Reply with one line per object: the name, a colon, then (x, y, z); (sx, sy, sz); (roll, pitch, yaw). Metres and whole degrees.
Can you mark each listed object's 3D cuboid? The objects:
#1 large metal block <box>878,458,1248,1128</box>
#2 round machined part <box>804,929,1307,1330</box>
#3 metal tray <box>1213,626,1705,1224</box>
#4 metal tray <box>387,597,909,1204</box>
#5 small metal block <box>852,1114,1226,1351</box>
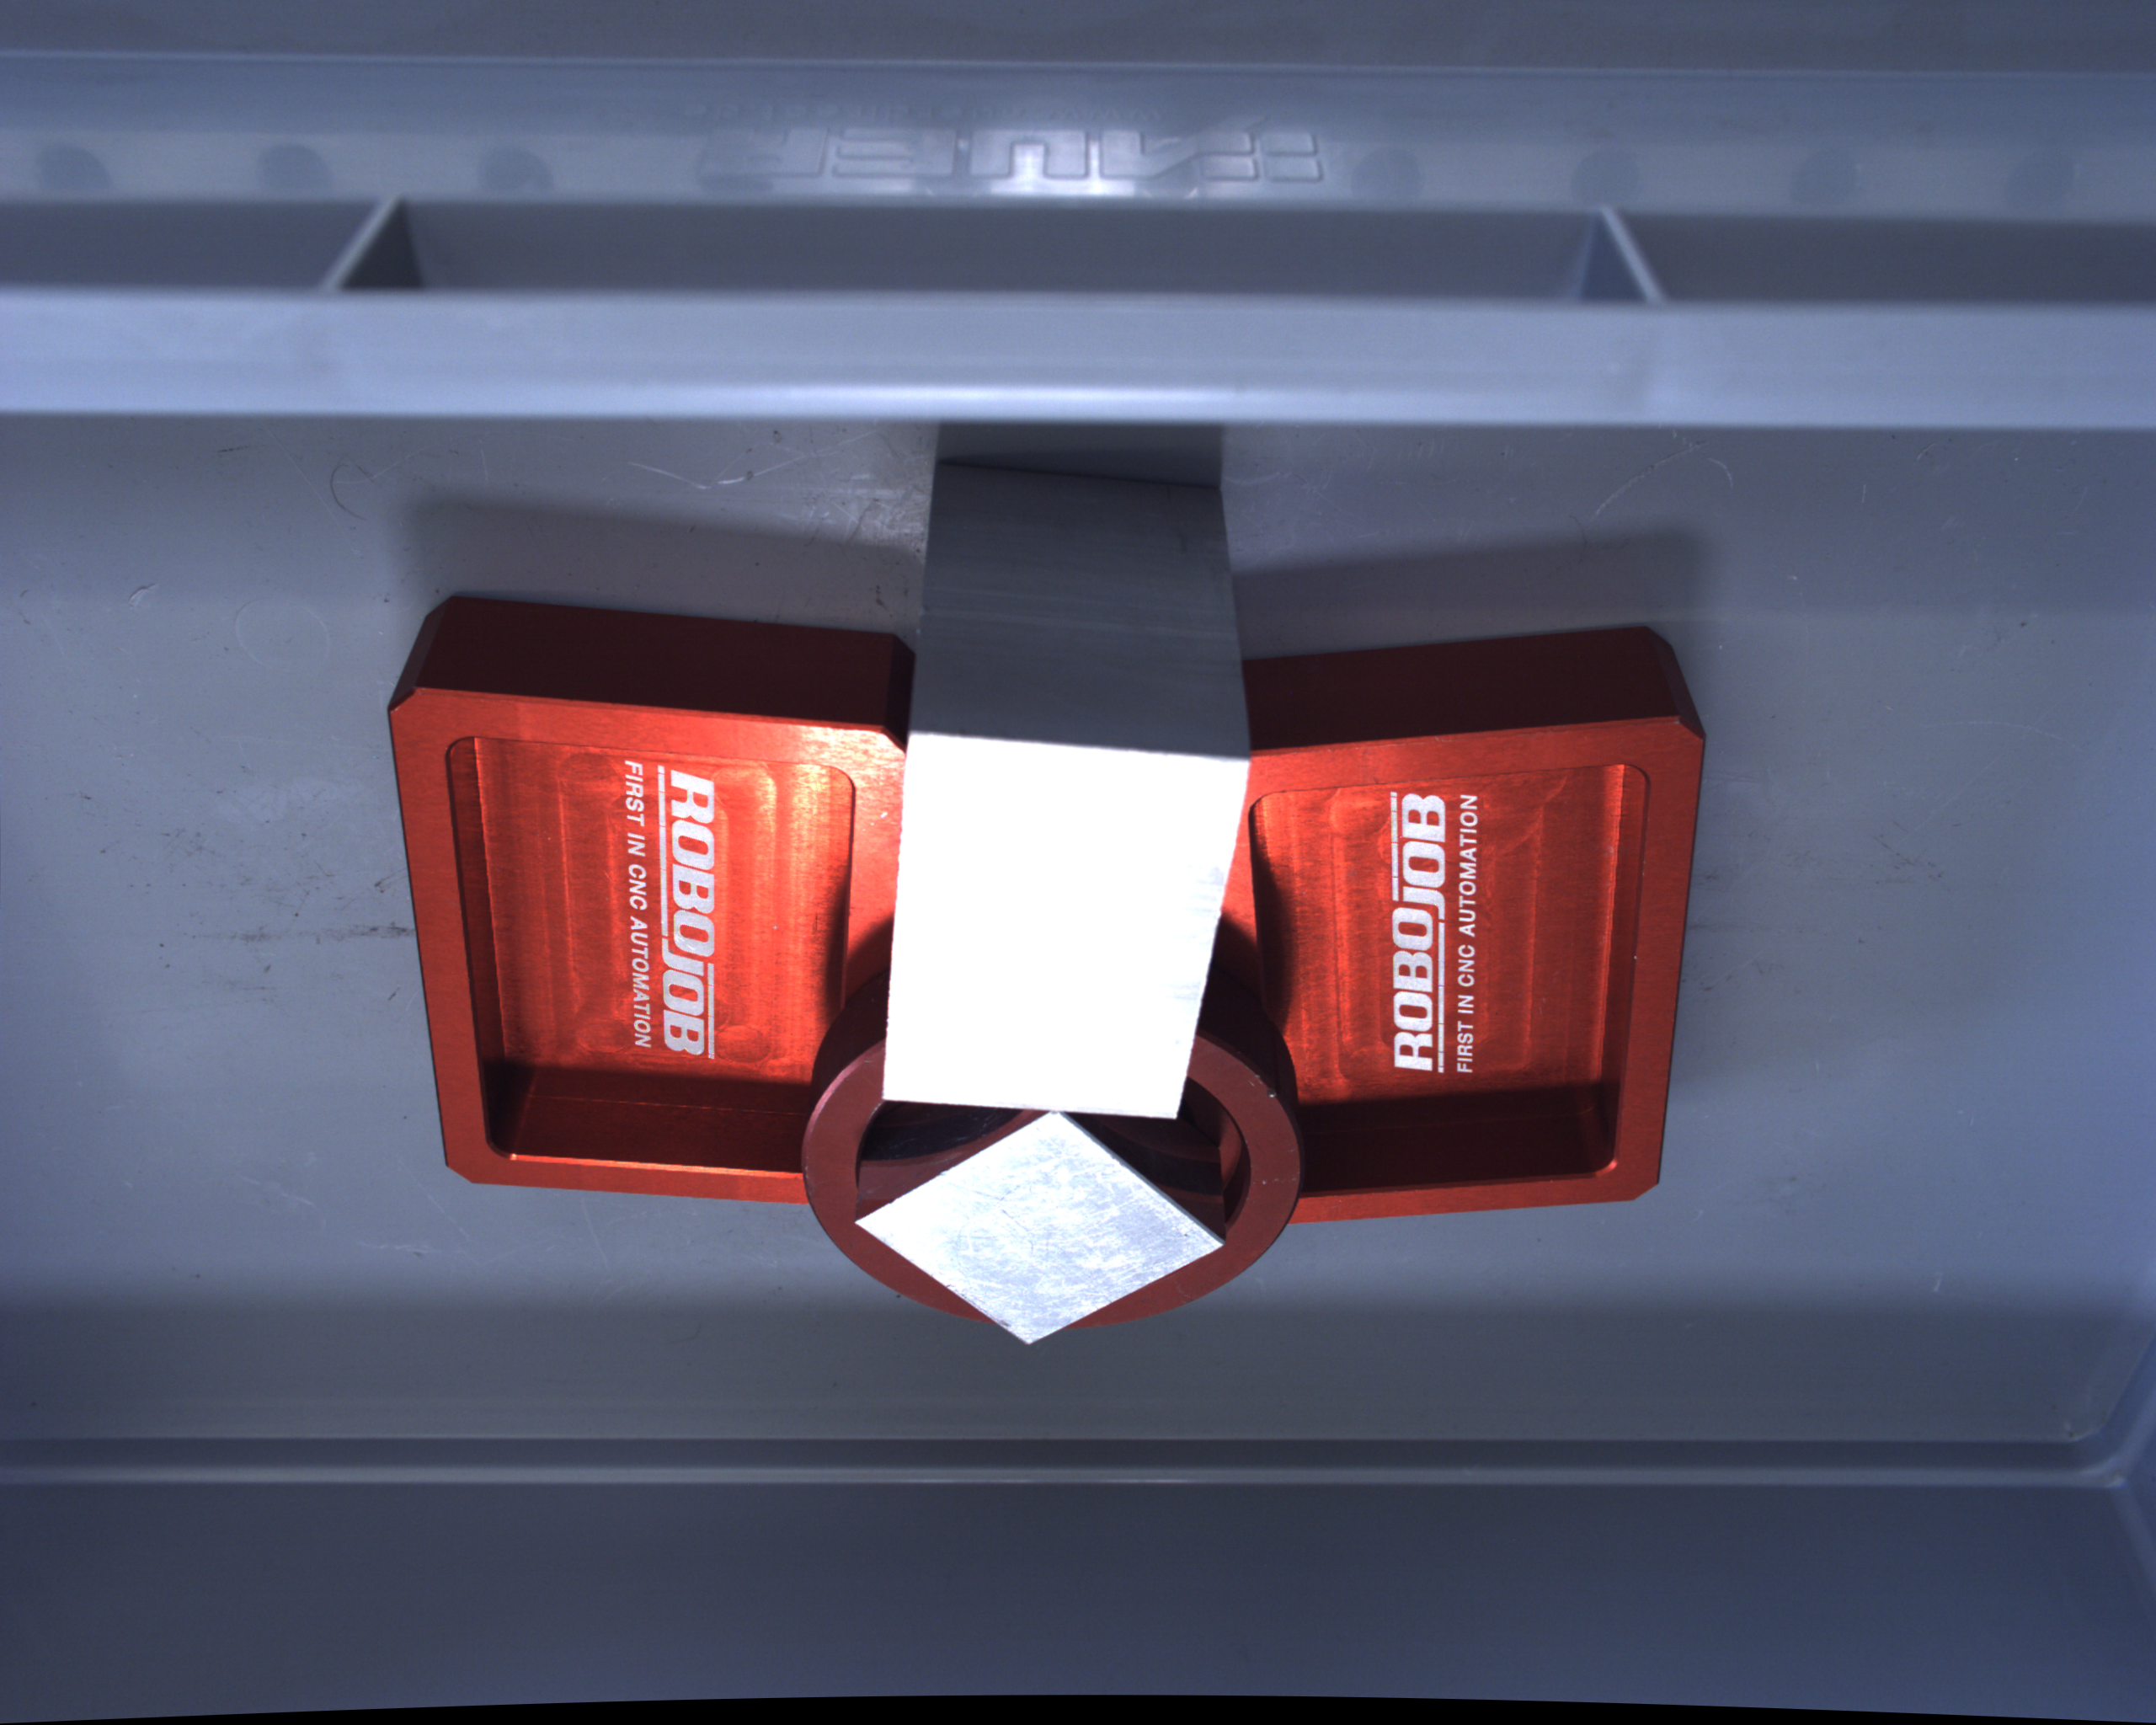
large metal block: (-0.005, -0.012, 0.360); (0.050, 0.080, 0.079); (5, 130, -4)
round machined part: (-0.004, 0.049, 0.425); (0.099, 0.042, 0.097); (0, 130, 0)
metal tray: (0.072, 0.018, 0.419); (0.091, 0.030, 0.129); (-5, 130, 4)
metal tray: (-0.081, 0.013, 0.413); (0.091, 0.030, 0.129); (5, 130, -4)
small metal block: (-0.007, 0.063, 0.405); (0.050, 0.025, 0.050); (-32, 124, 24)
